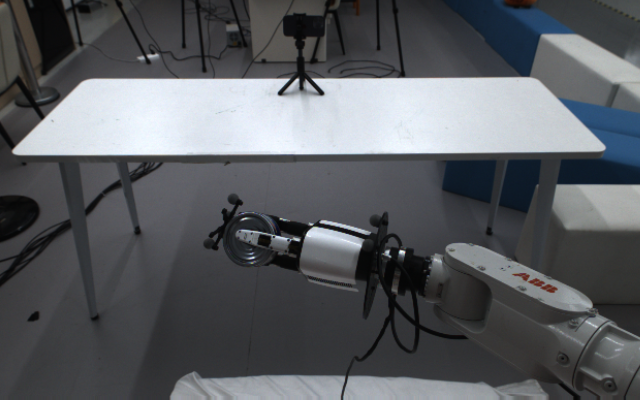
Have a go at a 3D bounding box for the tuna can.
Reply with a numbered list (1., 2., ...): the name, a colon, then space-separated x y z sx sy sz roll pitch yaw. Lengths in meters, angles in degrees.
1. tuna can: -0.102 0.064 0.741 0.085 0.085 0.034 9 -3 10
